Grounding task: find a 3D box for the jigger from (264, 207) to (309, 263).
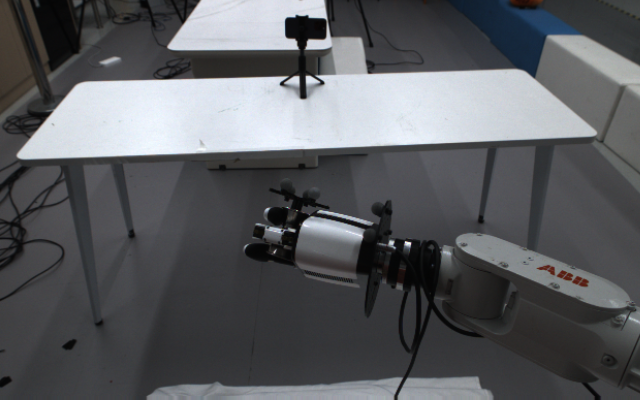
[{"bbox_3d":[-0.044,0.046,0.674,0.043,0.071,0.043,19,-6,2],"label":"jigger"}]
